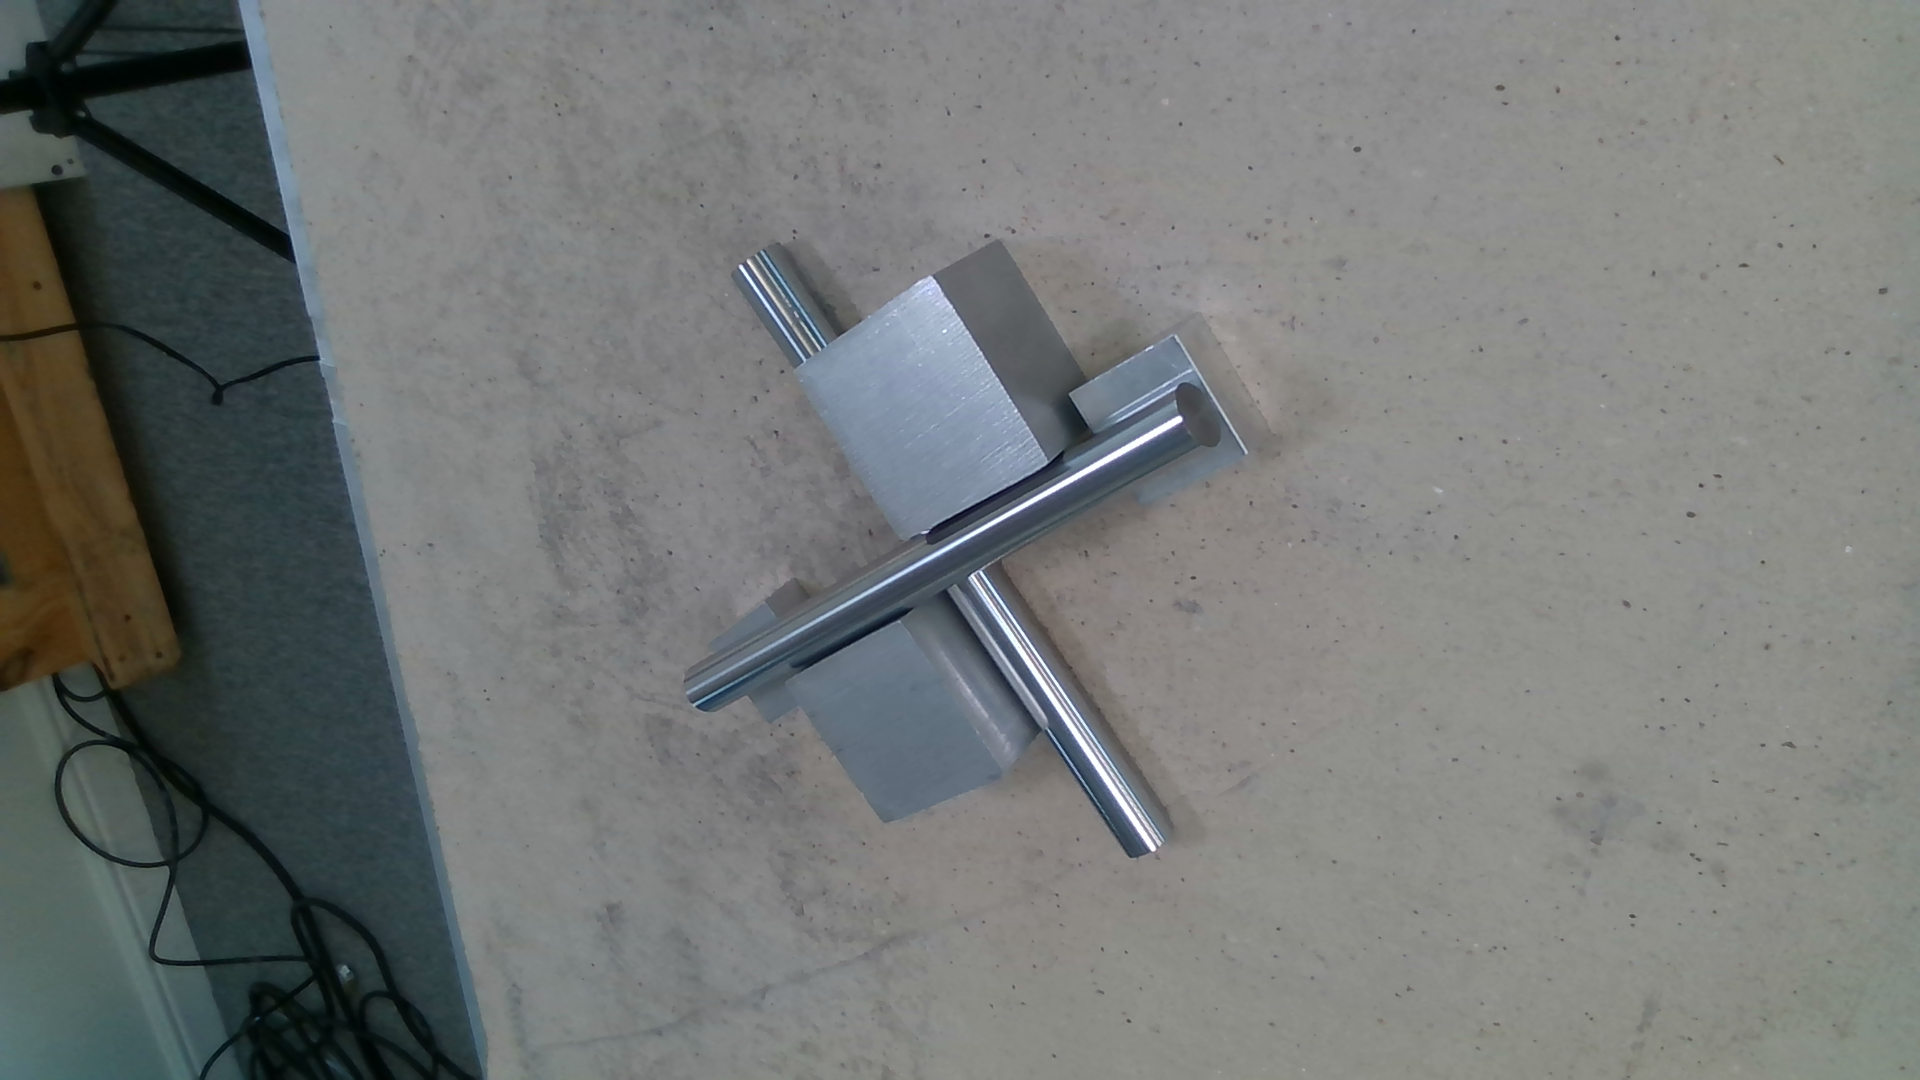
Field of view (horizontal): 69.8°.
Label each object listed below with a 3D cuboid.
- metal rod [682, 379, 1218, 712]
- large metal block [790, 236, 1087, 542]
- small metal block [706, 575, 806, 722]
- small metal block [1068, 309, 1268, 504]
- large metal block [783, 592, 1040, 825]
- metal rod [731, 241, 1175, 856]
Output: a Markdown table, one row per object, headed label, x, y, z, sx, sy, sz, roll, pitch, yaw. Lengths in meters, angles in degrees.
| label | x | y | z | sx | sy | sz | roll | pitch | yaw |
| --- | --- | --- | --- | --- | --- | --- | --- | --- | --- |
| metal rod | -0.021 | 0.013 | 0.568 | 0.300 | 0.025 | 0.025 | -29 | 98 | 39 |
| large metal block | -0.005 | -0.057 | 0.534 | 0.080 | 0.050 | 0.080 | -27 | 99 | 39 |
| small metal block | -0.086 | 0.053 | 0.663 | 0.050 | 0.025 | 0.050 | -34 | 95 | 39 |
| small metal block | 0.077 | -0.049 | 0.508 | 0.050 | 0.025 | 0.050 | -27 | 99 | 39 |
| large metal block | -0.018 | 0.070 | 0.614 | 0.080 | 0.050 | 0.080 | -29 | 98 | 39 |
| metal rod | 0.000 | 0.007 | 0.585 | 0.025 | 0.025 | 0.300 | -29 | 98 | 39 |
